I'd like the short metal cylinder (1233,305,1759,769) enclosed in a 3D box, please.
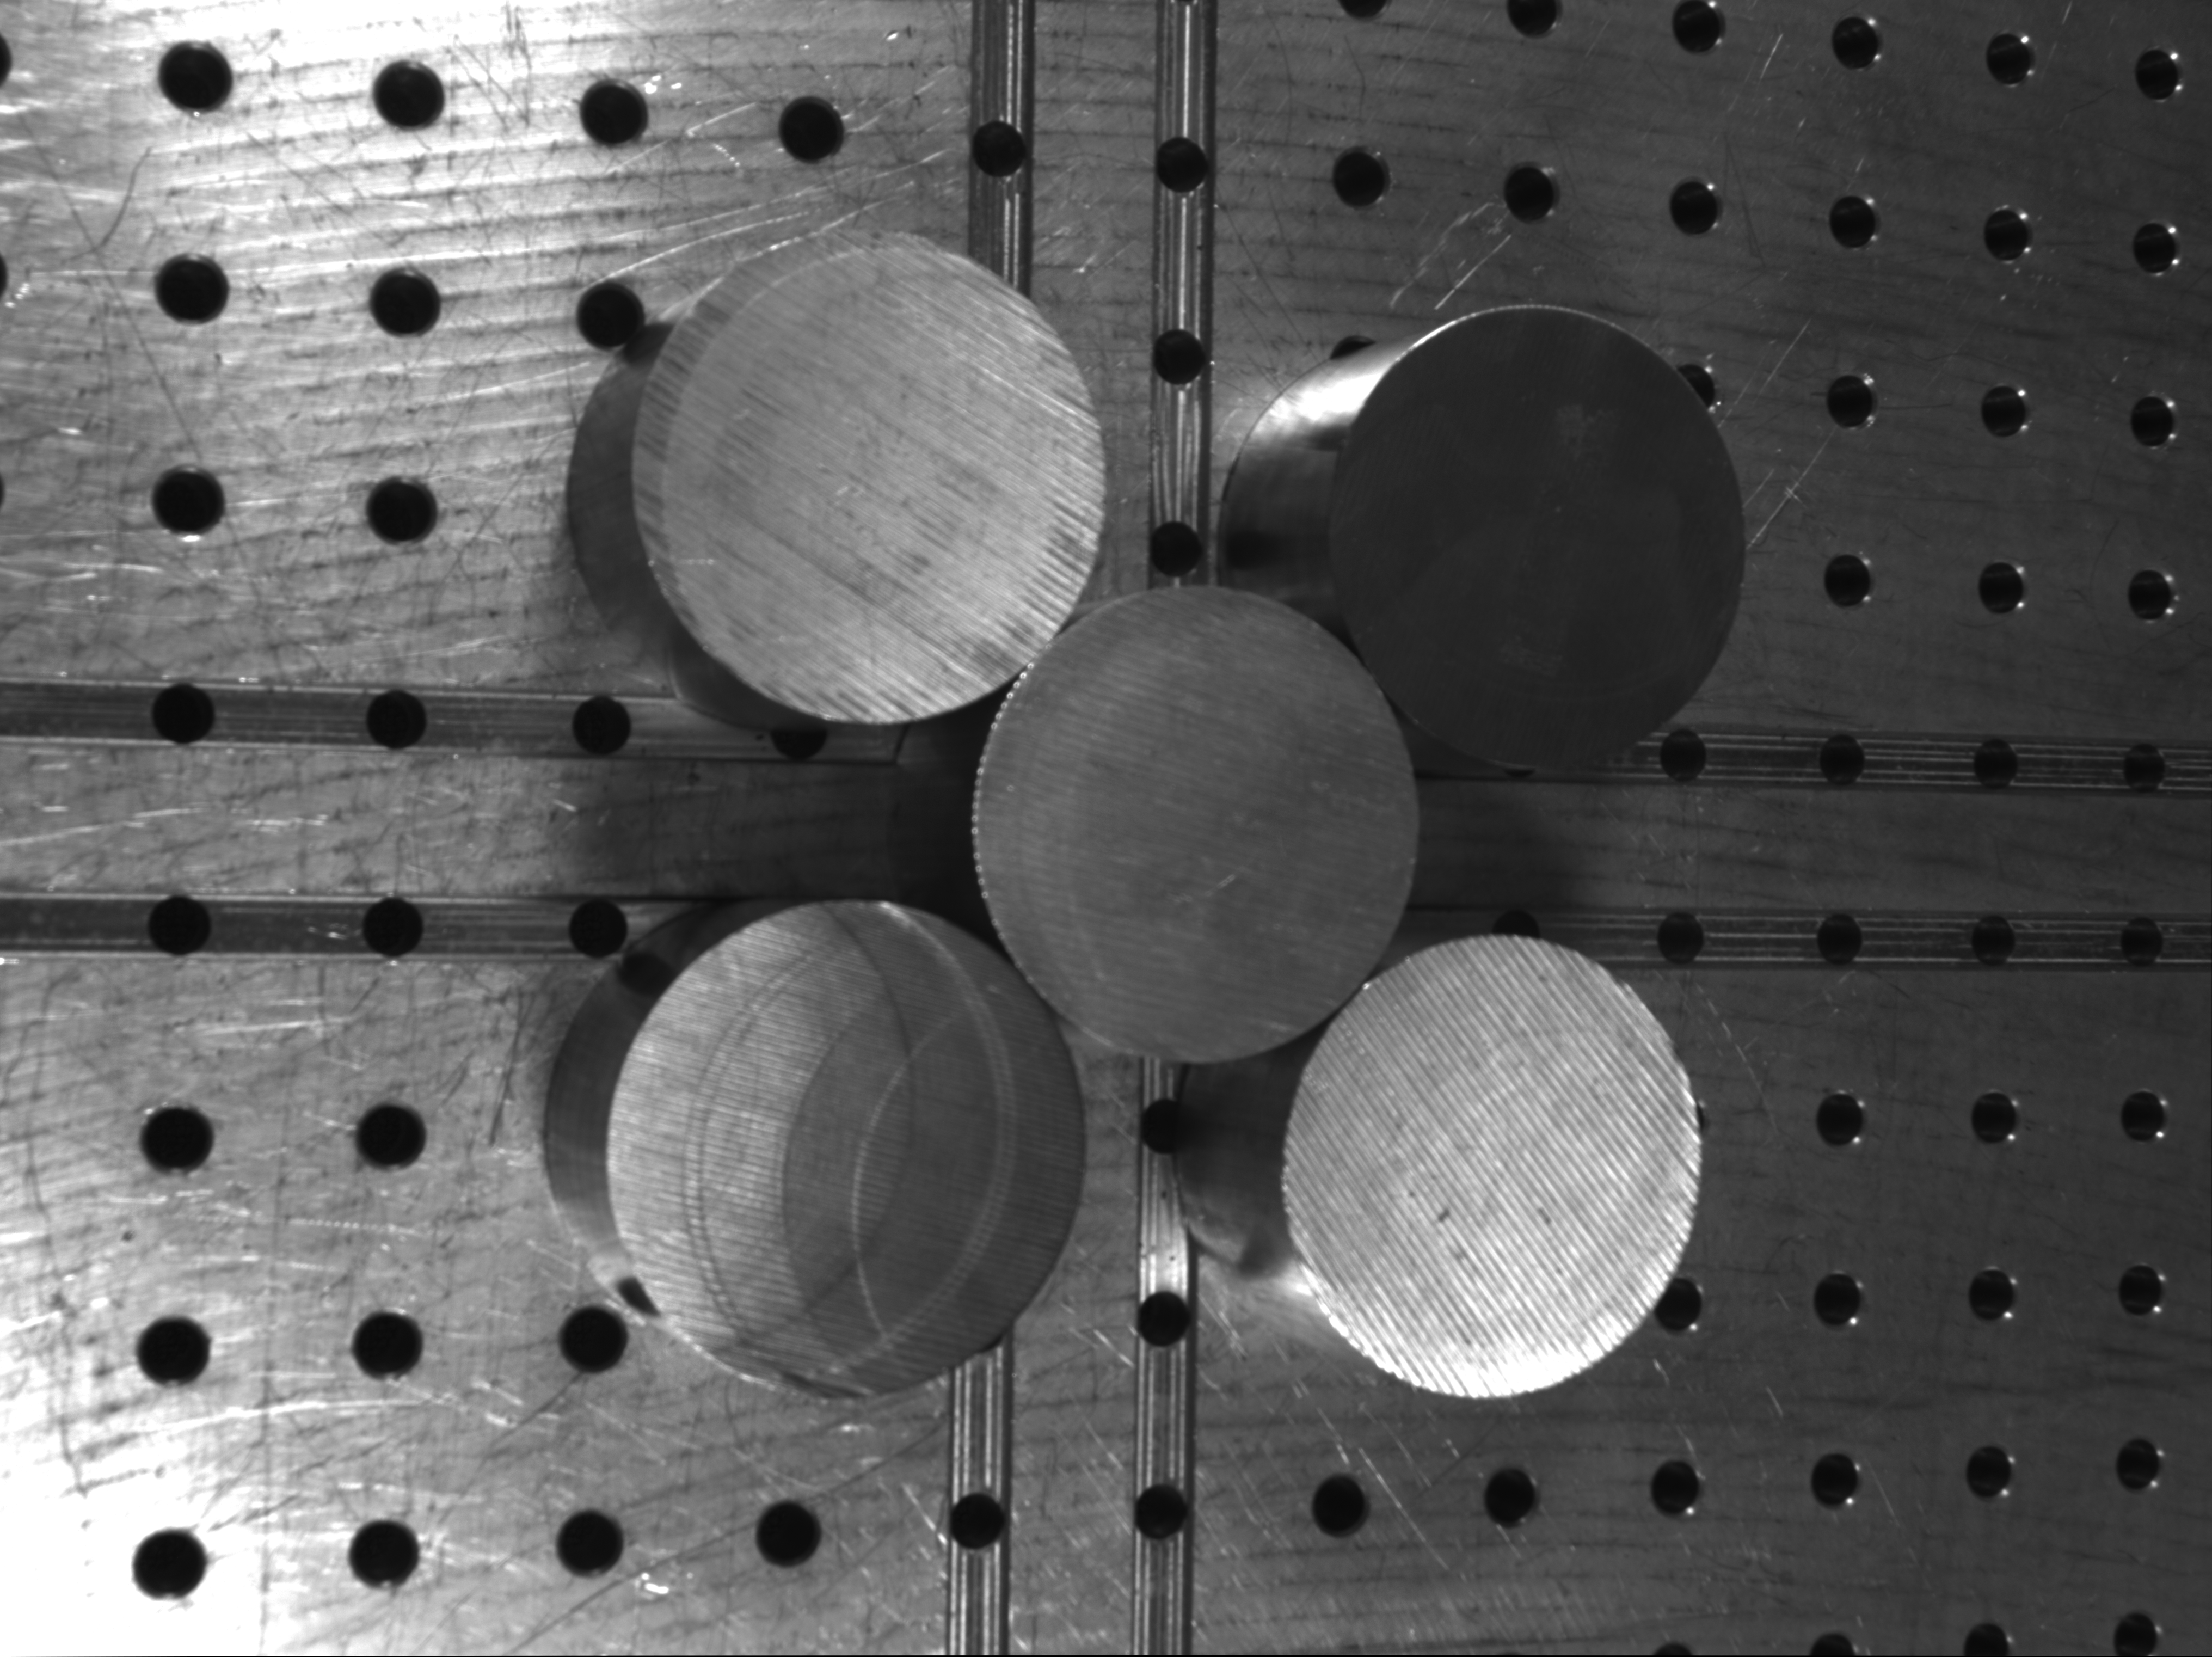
[{"bbox_3d":[0.069,-0.050,0.655,0.080,0.050,0.080,0,90,-20],"label":"short metal cylinder"}]

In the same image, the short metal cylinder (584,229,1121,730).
[{"bbox_3d":[-0.044,-0.057,0.616,0.080,0.050,0.080,0,90,-20],"label":"short metal cylinder"}]

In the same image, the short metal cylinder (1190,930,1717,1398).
[{"bbox_3d":[0.061,0.058,0.654,0.080,0.050,0.080,0,90,-20],"label":"short metal cylinder"}]

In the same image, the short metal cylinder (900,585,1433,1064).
[{"bbox_3d":[0.010,-0.001,0.635,0.080,0.050,0.080,0,90,-20],"label":"short metal cylinder"}]

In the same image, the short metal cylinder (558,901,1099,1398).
[{"bbox_3d":[-0.047,0.052,0.614,0.080,0.050,0.080,0,90,-20],"label":"short metal cylinder"}]
